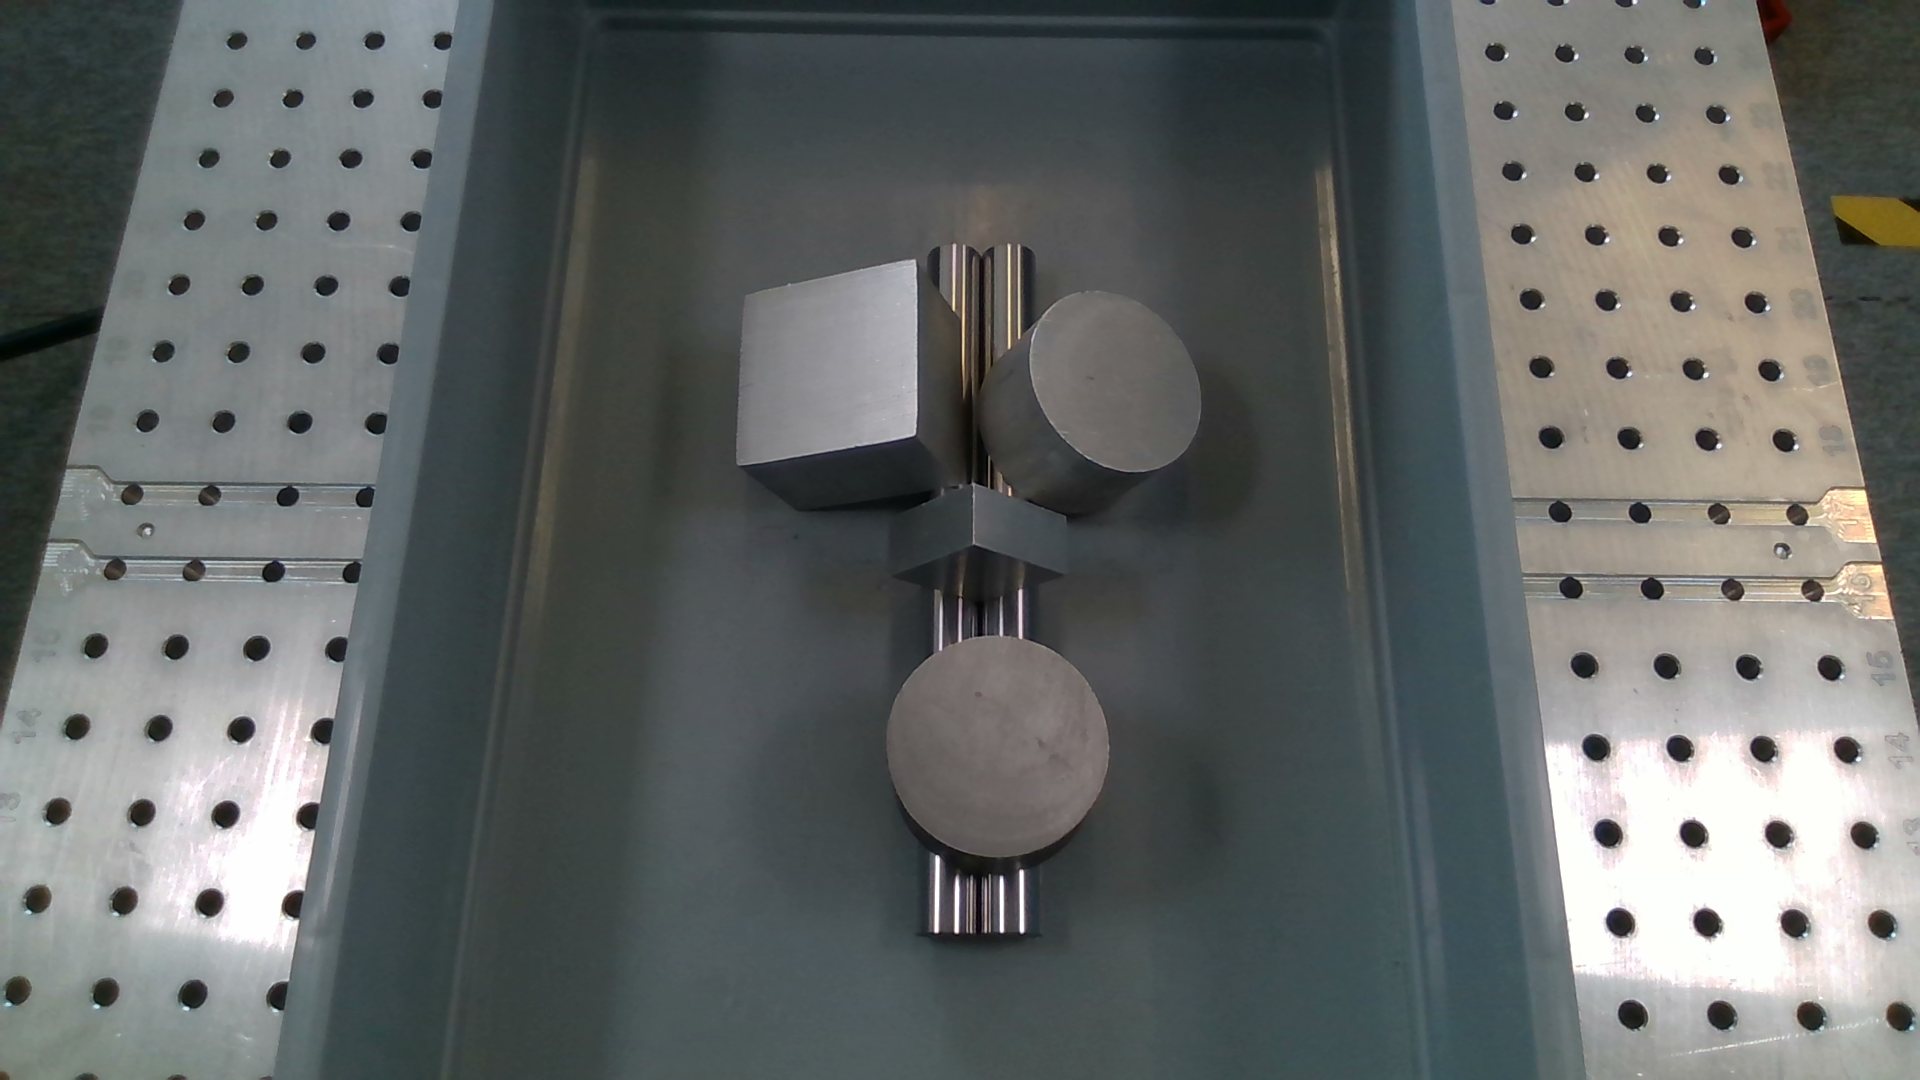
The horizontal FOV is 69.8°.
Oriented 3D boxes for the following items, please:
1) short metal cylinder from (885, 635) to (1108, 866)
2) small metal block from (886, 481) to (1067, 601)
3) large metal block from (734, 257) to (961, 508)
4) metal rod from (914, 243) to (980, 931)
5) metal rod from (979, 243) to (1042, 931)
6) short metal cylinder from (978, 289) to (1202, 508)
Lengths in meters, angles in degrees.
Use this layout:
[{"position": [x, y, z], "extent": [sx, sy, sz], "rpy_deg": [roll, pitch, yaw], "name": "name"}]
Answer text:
[{"position": [0.013, 0.081, 0.518], "extent": [0.080, 0.050, 0.080], "rpy_deg": [0, 70, 0], "name": "short metal cylinder"}, {"position": [0.007, 0.002, 0.543], "extent": [0.050, 0.050, 0.025], "rpy_deg": [17, 64, -39], "name": "small metal block"}, {"position": [-0.046, -0.065, 0.582], "extent": [0.080, 0.050, 0.080], "rpy_deg": [-8, 69, 19], "name": "large metal block"}, {"position": [-0.004, 0.011, 0.584], "extent": [0.025, 0.025, 0.299], "rpy_deg": [0, 70, 0], "name": "metal rod"}, {"position": [0.021, 0.011, 0.584], "extent": [0.025, 0.025, 0.299], "rpy_deg": [0, 70, 0], "name": "metal rod"}, {"position": [0.054, -0.058, 0.579], "extent": [0.080, 0.050, 0.080], "rpy_deg": [8, 69, -23], "name": "short metal cylinder"}]
